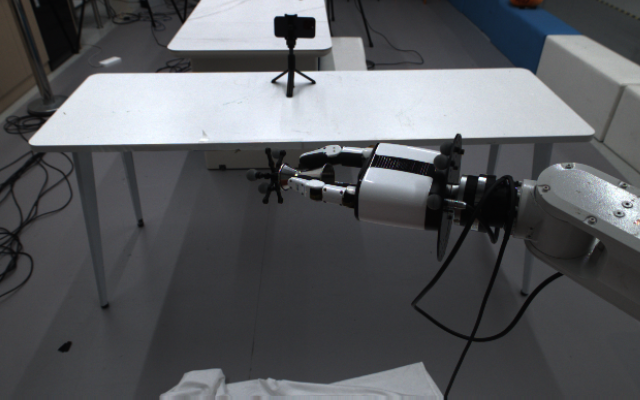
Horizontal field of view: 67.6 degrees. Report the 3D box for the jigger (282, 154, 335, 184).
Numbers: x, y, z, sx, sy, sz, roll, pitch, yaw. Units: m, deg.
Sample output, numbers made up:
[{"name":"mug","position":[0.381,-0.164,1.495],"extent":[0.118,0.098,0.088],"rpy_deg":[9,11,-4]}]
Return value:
[{"name":"jigger","position":[-0.012,-0.037,0.670],"extent":[0.071,0.043,0.043],"rpy_deg":[3,32,26]}]
